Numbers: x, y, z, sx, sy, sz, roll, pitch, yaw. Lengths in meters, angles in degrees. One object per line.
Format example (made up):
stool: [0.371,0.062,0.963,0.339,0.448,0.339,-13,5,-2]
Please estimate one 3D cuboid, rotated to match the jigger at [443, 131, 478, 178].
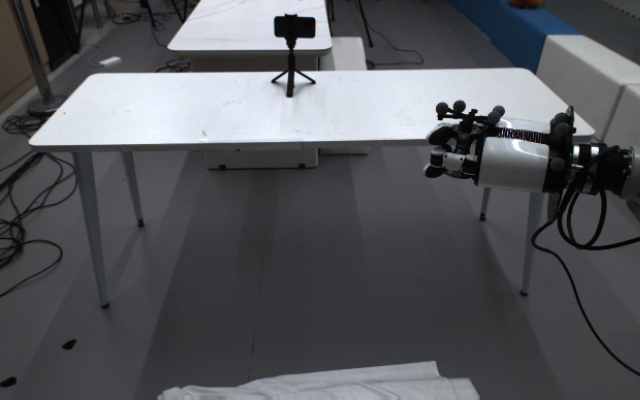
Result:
jigger: [0.209,-0.071,0.704,0.043,0.071,0.043,3,25,-1]
